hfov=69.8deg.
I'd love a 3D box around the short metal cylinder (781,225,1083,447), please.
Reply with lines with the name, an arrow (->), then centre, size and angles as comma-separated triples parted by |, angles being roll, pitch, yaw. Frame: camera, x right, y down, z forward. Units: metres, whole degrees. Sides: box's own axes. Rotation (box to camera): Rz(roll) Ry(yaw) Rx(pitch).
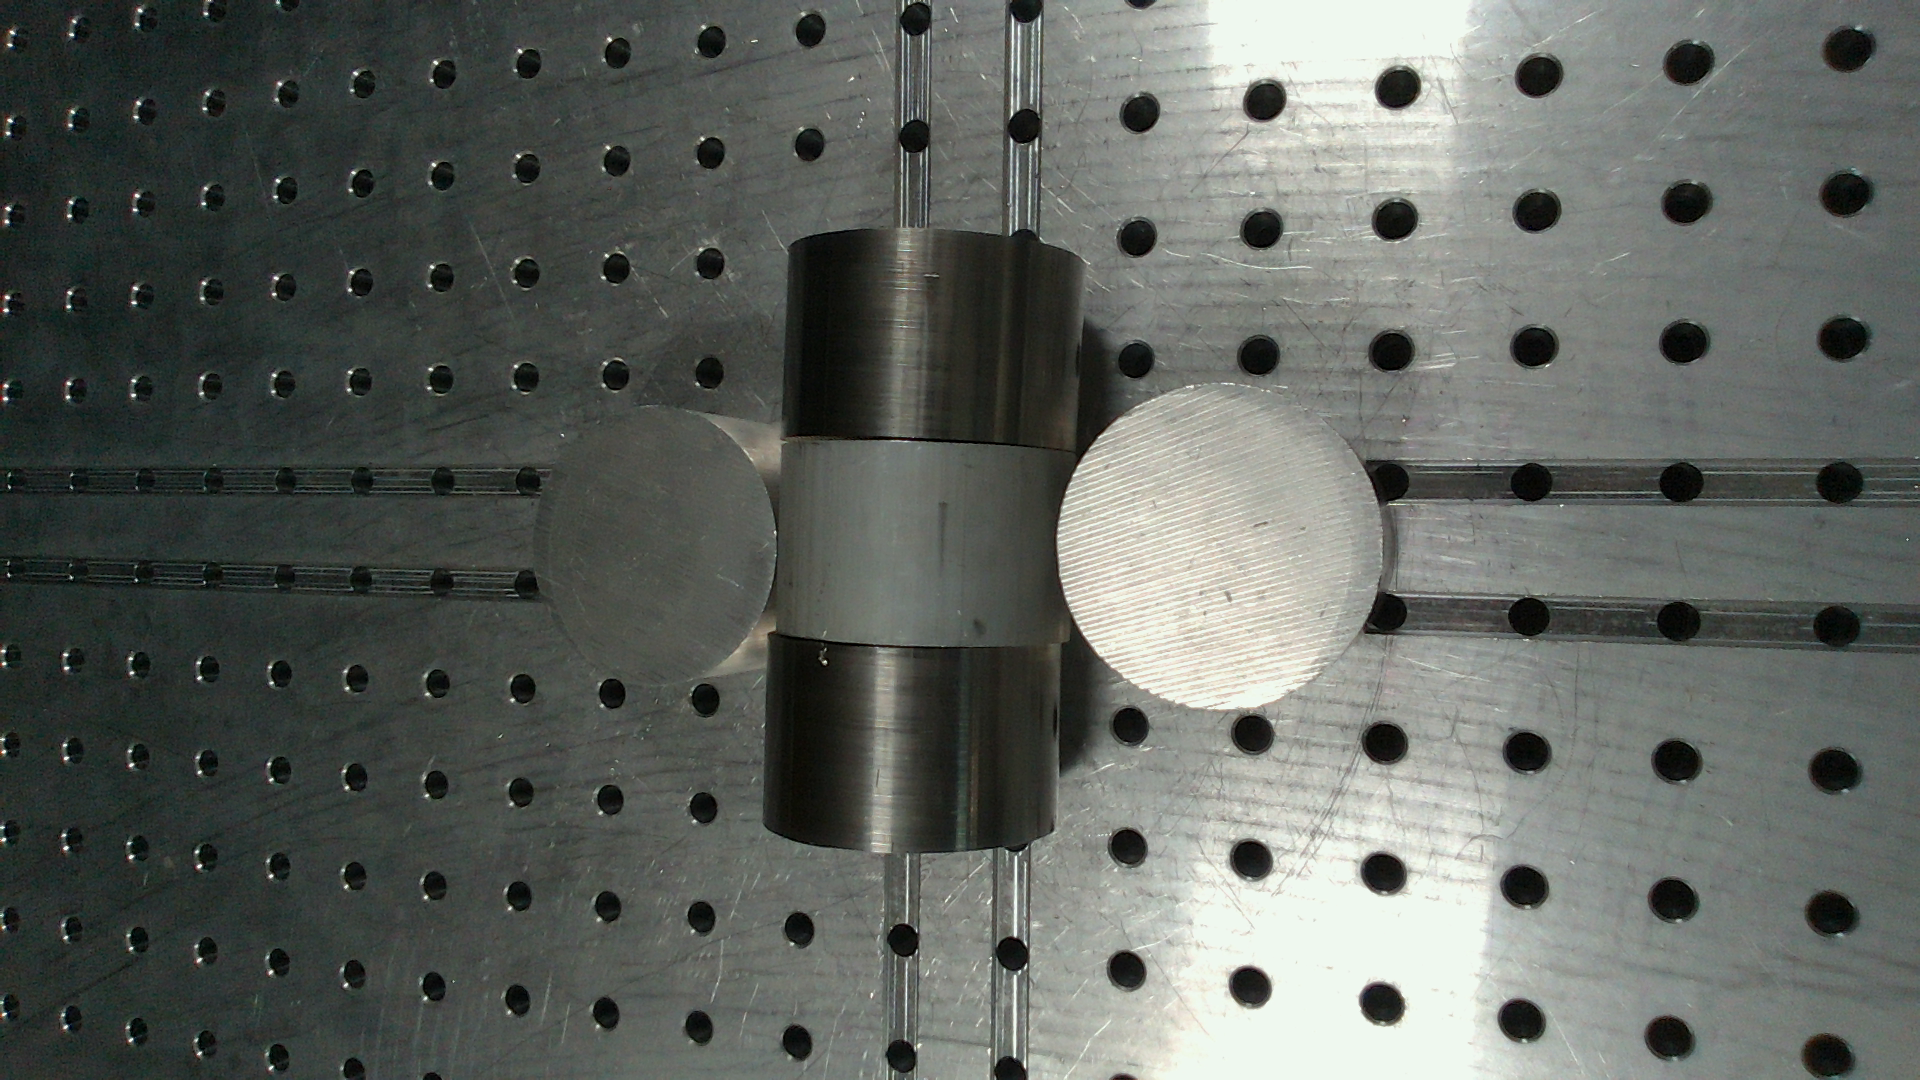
short metal cylinder -> -0.007, -0.051, 0.371 | 0.080, 0.080, 0.050 | 3, 91, 20

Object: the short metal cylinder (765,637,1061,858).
short metal cylinder -> -0.012, 0.052, 0.373 | 0.080, 0.080, 0.050 | 1, 91, 20

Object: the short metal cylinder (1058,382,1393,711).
short metal cylinder -> 0.071, 0.001, 0.359 | 0.080, 0.050, 0.080 | 0, 90, 20

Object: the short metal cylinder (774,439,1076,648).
short metal cylinder -> -0.009, 0.000, 0.372 | 0.080, 0.080, 0.050 | 2, 91, 20

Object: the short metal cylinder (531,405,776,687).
short metal cylinder -> -0.080, 0.002, 0.413 | 0.080, 0.050, 0.080 | 0, 90, 20
